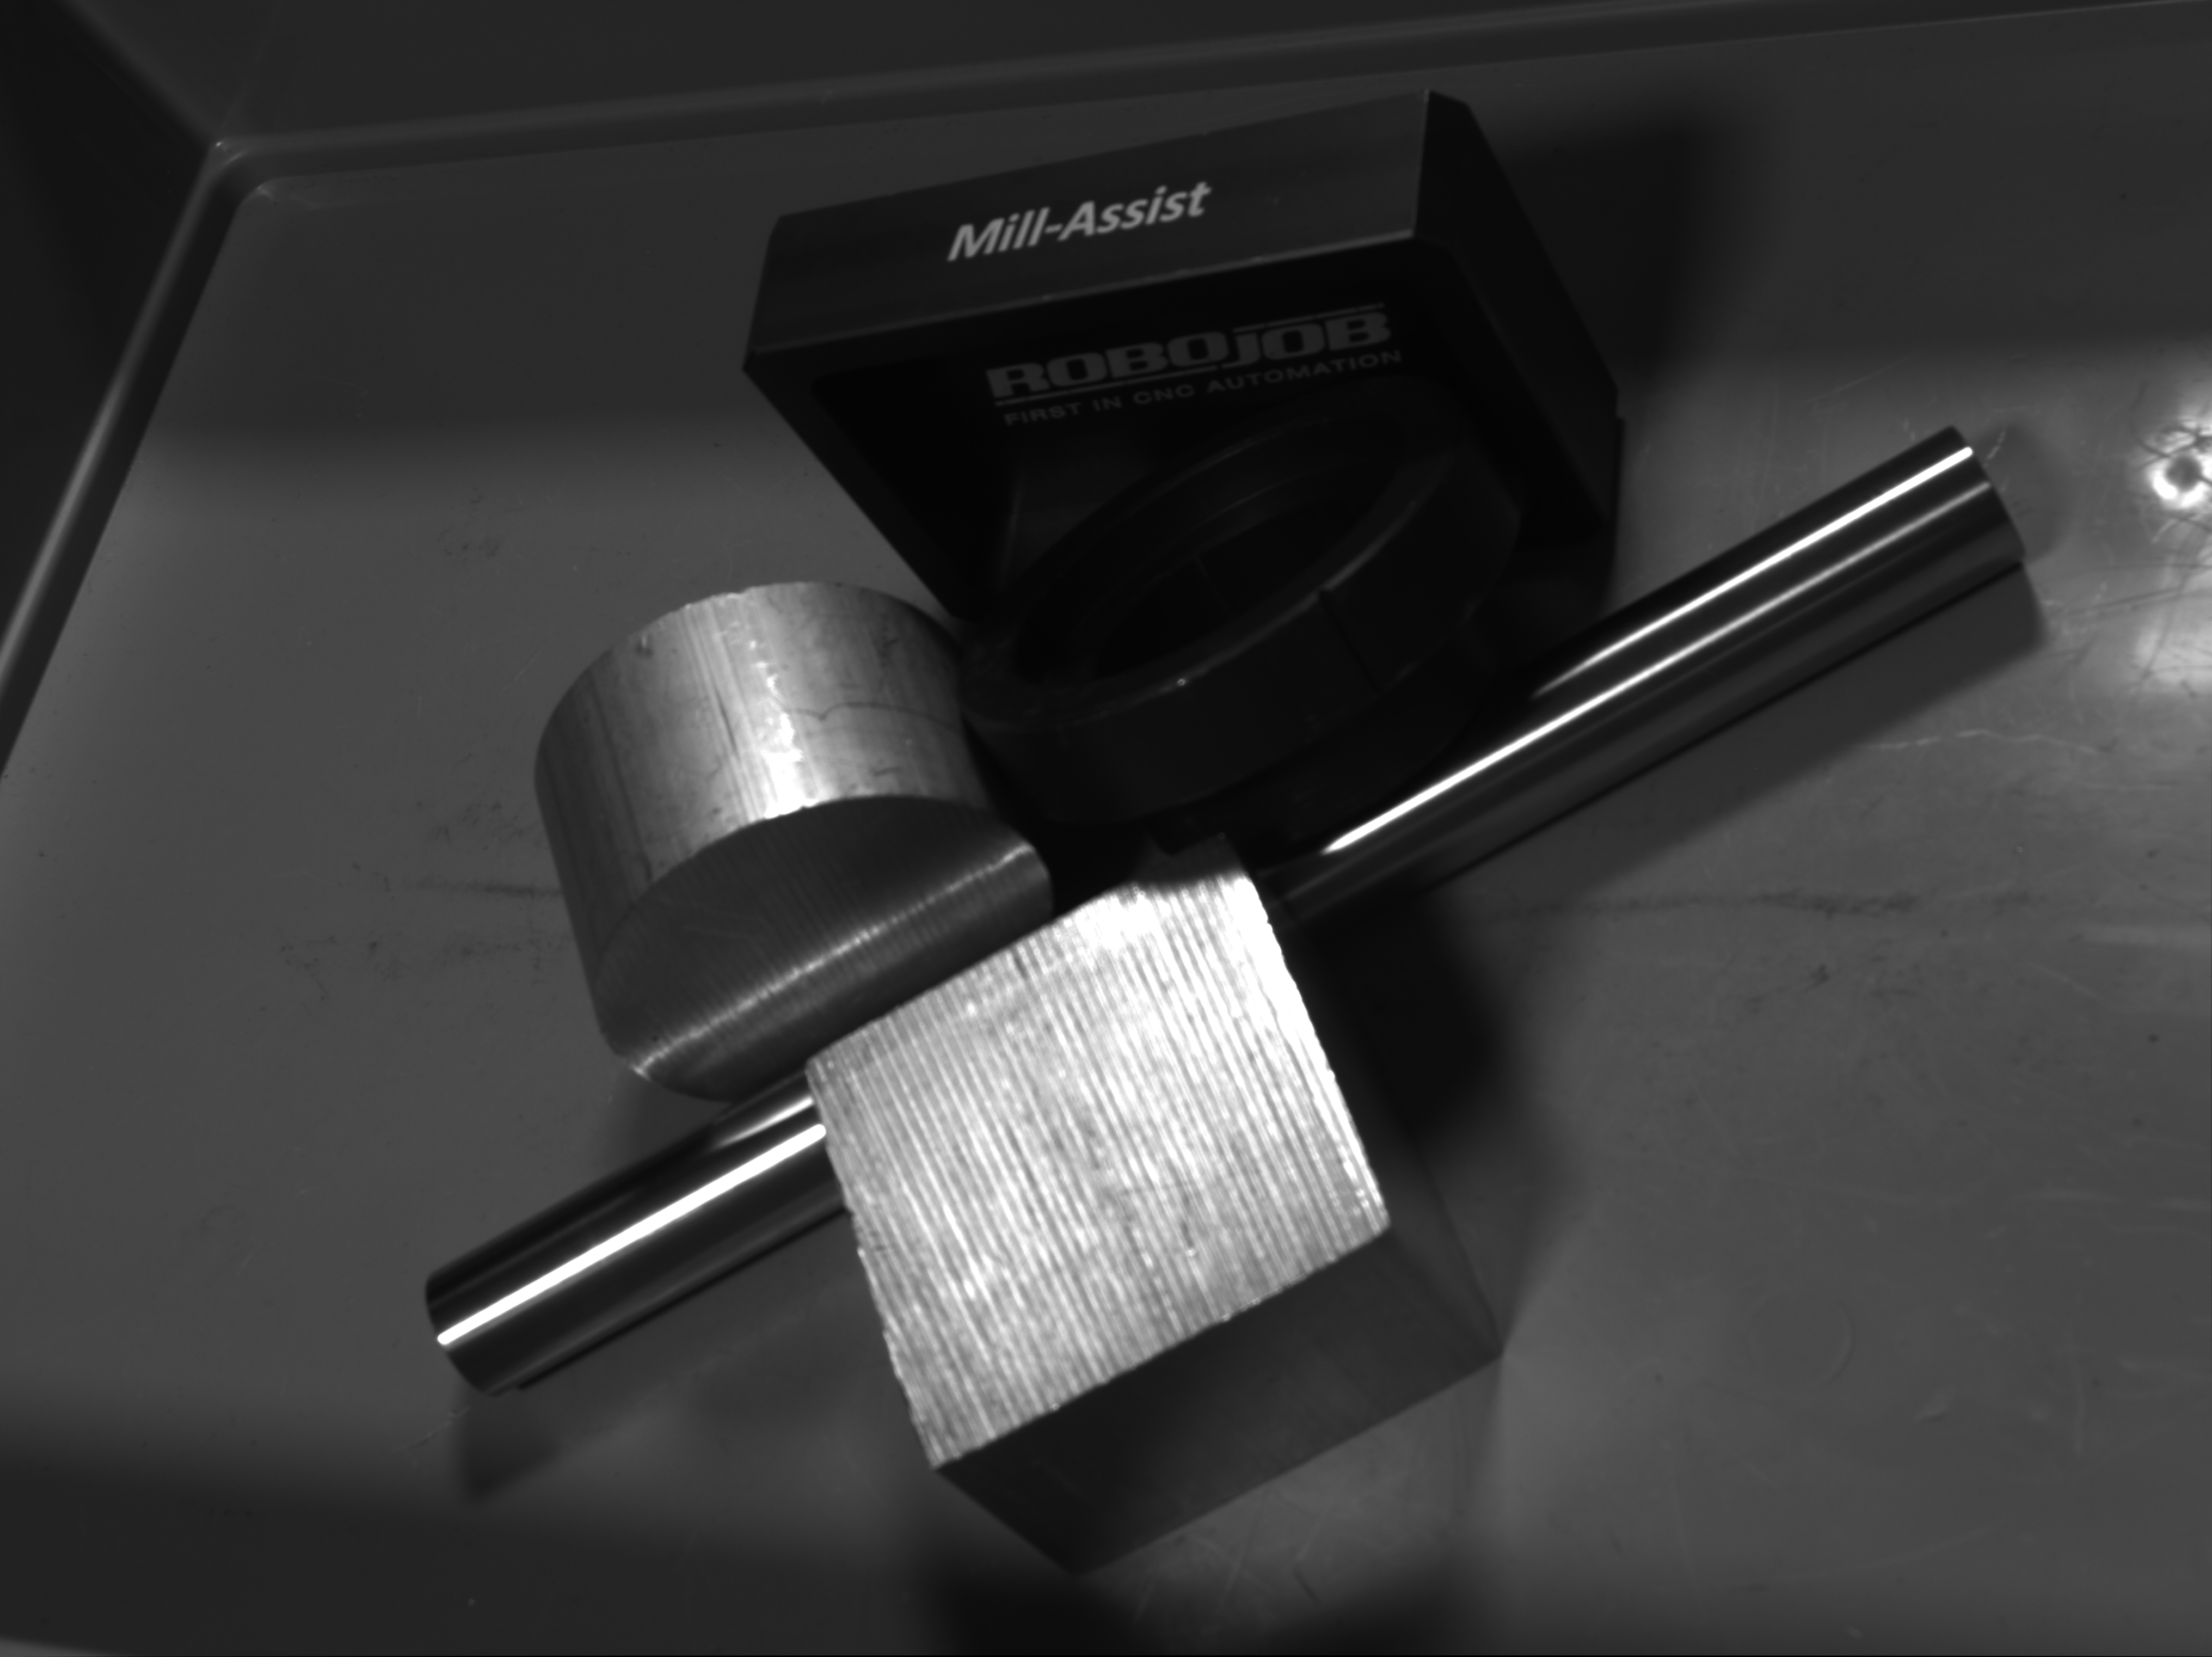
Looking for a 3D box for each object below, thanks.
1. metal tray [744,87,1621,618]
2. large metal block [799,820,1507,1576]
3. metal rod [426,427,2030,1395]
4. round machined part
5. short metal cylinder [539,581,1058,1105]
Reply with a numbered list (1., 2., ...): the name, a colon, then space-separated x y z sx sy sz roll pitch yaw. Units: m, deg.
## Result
1. metal tray: 0.015 -0.079 0.640 0.130 0.090 0.030 -6 59 25
2. large metal block: 0.006 0.059 0.585 0.080 0.050 0.080 -29 52 10
3. metal rod: 0.016 0.017 0.624 0.300 0.025 0.025 -29 52 10
4. round machined part: 0.027 -0.031 0.619 0.098 0.042 0.098 -27 23 13
5. short metal cylinder: -0.054 0.003 0.634 0.080 0.080 0.050 -30 52 9
